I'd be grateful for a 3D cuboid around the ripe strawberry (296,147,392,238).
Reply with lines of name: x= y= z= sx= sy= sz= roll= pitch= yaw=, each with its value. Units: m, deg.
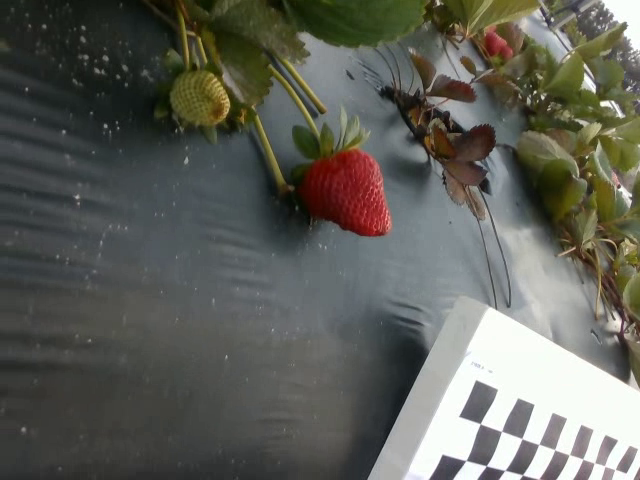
ripe strawberry: x=0.015 y=-0.020 z=0.273 sx=0.046 sy=0.042 sz=0.054 roll=-28 pitch=54 yaw=-22
